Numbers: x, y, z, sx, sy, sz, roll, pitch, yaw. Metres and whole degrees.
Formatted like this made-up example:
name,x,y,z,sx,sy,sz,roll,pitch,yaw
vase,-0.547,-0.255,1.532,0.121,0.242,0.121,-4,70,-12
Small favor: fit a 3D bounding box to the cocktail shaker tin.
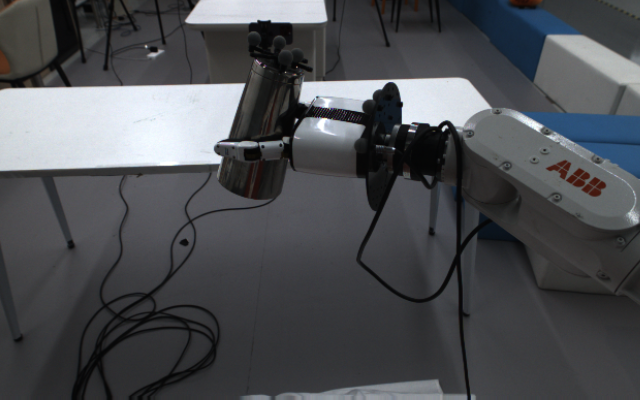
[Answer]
name,x,y,z,sx,sy,sz,roll,pitch,yaw
cocktail shaker tin,-0.074,-0.099,0.641,0.093,0.170,0.093,15,27,-8
